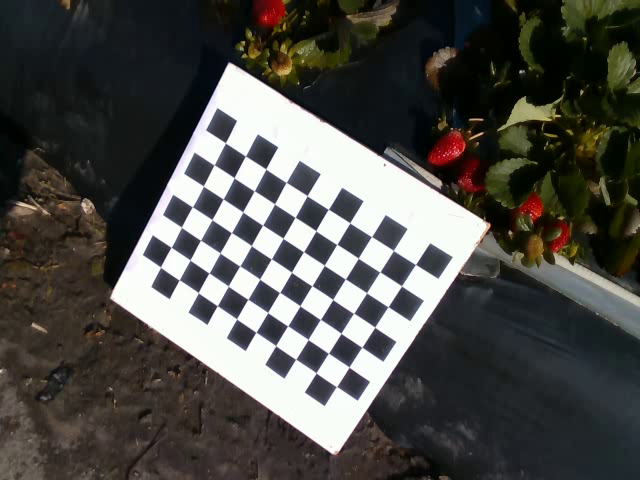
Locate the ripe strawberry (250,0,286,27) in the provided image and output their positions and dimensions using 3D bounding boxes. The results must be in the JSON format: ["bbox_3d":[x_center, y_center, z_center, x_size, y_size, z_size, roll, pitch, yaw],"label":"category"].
[{"bbox_3d":[-0.057,-0.236,0.682,0.042,0.039,0.049,-12,32,18],"label":"ripe strawberry"}]
